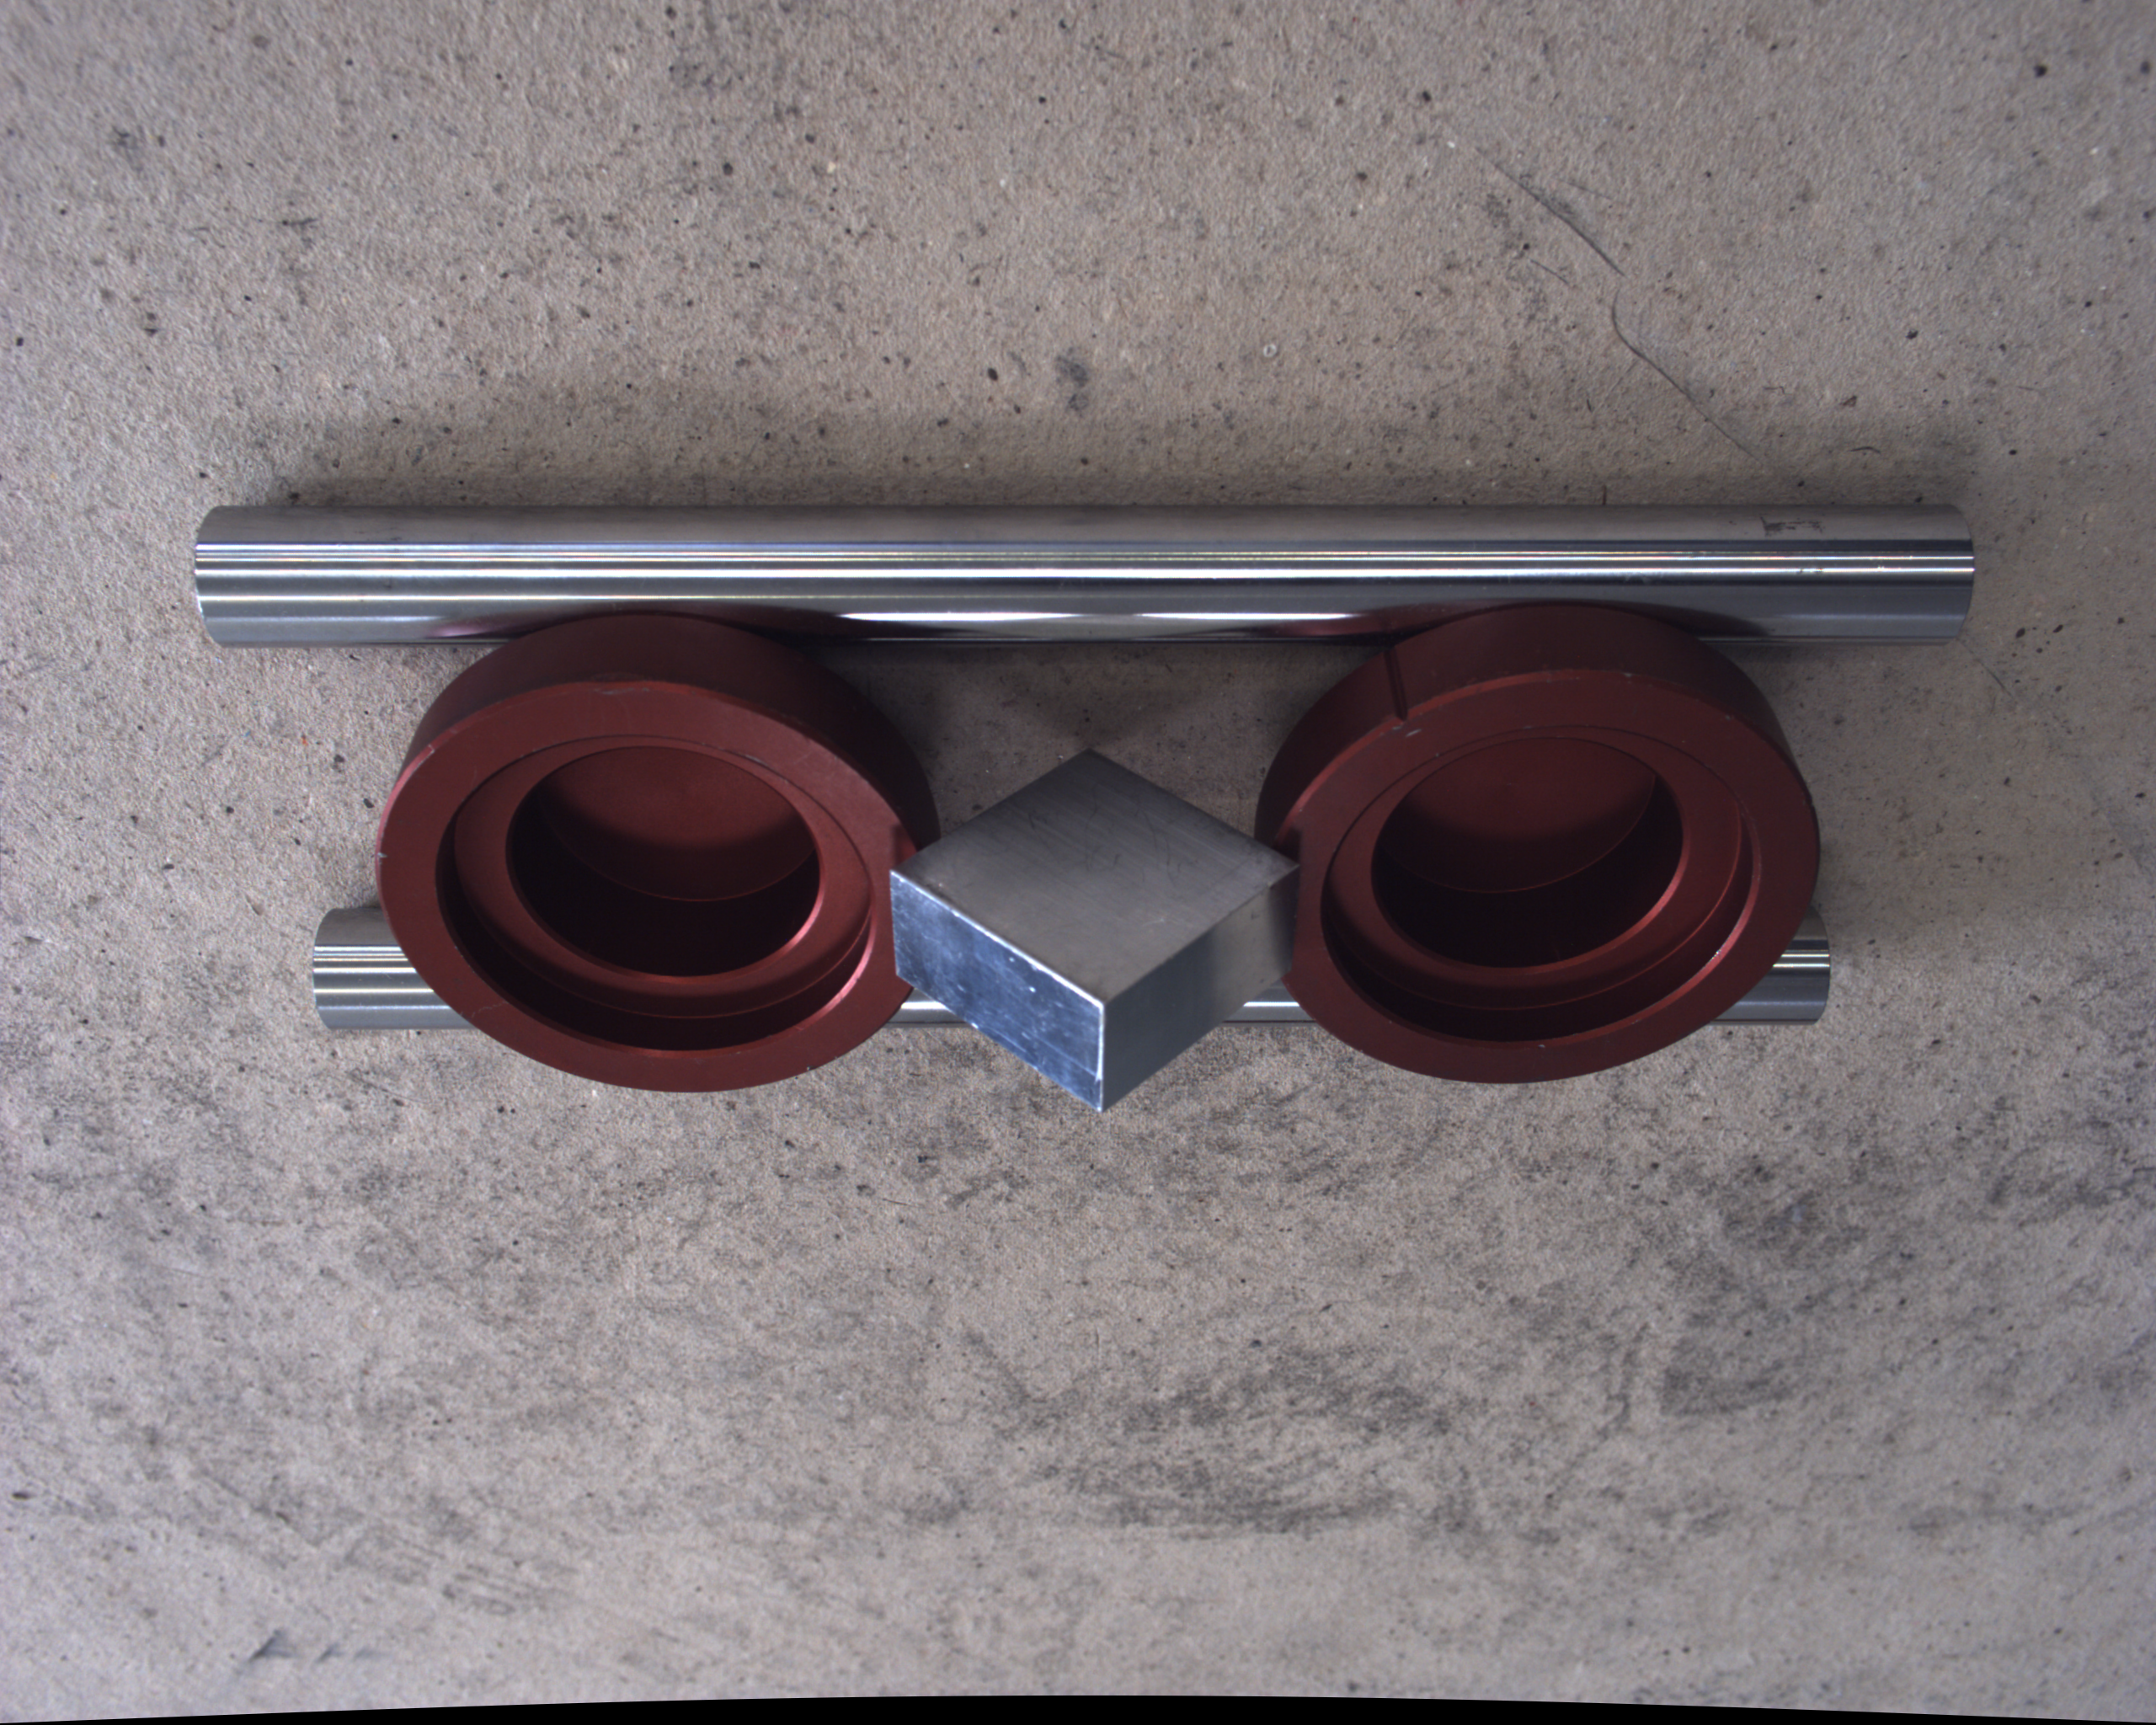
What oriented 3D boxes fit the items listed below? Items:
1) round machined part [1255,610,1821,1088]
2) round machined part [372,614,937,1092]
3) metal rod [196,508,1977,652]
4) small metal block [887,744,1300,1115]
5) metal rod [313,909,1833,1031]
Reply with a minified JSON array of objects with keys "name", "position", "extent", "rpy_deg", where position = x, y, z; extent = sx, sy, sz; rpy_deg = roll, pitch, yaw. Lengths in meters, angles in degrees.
[{"name":"round machined part","position":[0.082,-0.006,0.386],"extent":[0.099,0.042,0.097],"rpy_deg":[0,130,0]},{"name":"round machined part","position":[-0.075,-0.006,0.386],"extent":[0.099,0.042,0.097],"rpy_deg":[0,130,0]},{"name":"metal rod","position":[0.002,-0.050,0.366],"extent":[0.302,0.025,0.025],"rpy_deg":[0,130,-1]},{"name":"small metal block","position":[0.003,0.010,0.366],"extent":[0.050,0.050,0.025],"rpy_deg":[31,138,32]},{"name":"metal rod","position":[0.000,0.022,0.427],"extent":[0.302,0.025,0.025],"rpy_deg":[0,130,-1]}]
